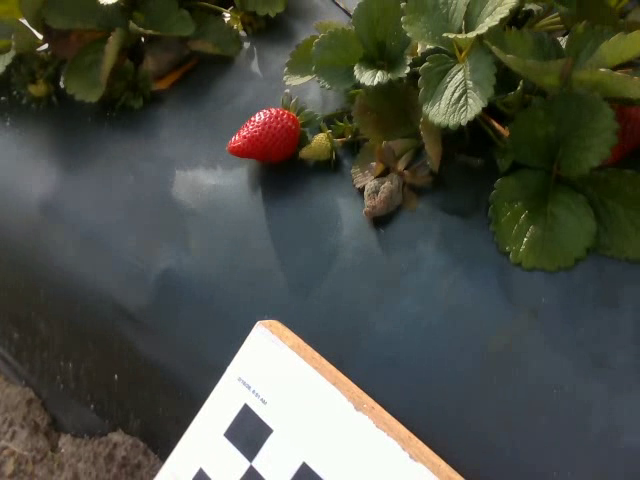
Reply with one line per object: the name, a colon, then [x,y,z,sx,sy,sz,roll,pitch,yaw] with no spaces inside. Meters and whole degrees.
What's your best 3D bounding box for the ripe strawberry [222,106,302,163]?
ripe strawberry: [-0.040,-0.070,0.373,0.057,0.051,0.045,-33,60,-33]
